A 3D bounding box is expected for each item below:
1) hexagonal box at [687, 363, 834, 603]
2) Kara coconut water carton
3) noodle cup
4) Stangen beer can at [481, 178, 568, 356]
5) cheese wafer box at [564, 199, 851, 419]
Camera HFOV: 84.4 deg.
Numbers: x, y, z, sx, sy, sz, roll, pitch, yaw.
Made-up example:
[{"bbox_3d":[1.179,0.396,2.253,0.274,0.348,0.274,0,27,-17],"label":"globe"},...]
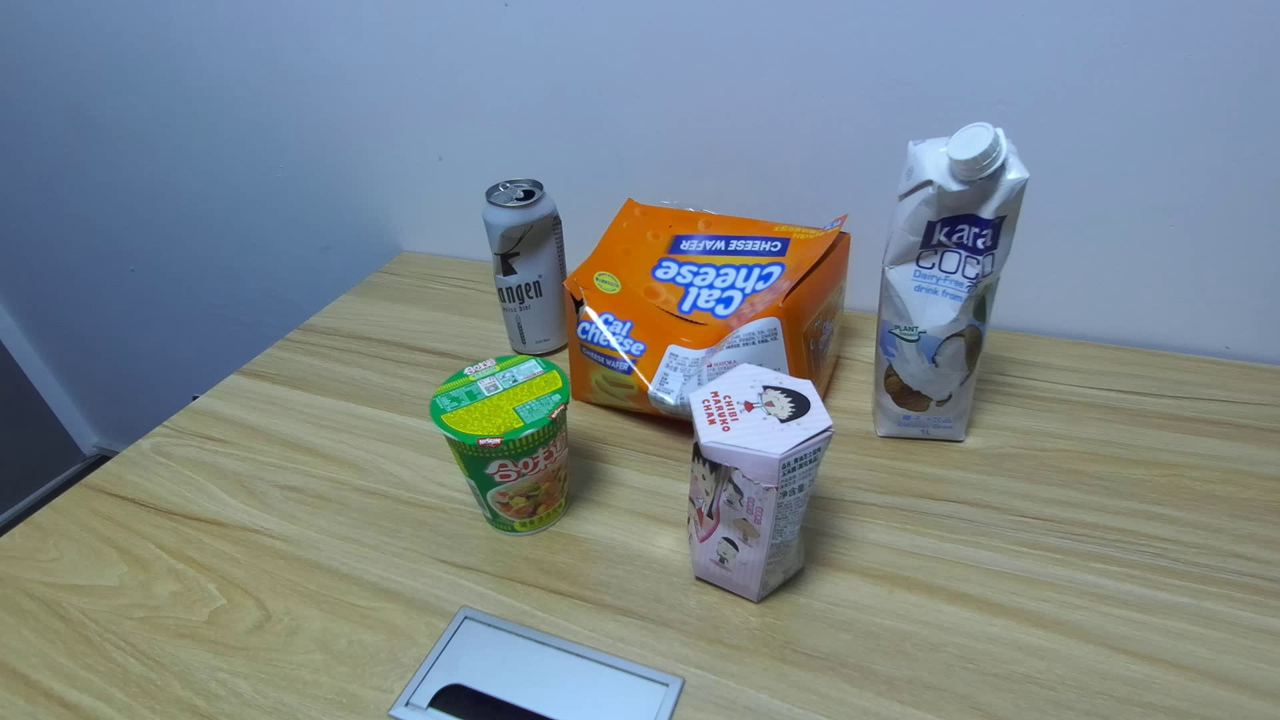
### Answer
[{"bbox_3d":[0.075,0.079,0.464,0.090,0.135,0.091,21,42,28],"label":"hexagonal box"},{"bbox_3d":[0.223,-0.054,0.527,0.083,0.256,0.078,11,41,22],"label":"Kara coconut water carton"},{"bbox_3d":[-0.094,0.069,0.526,0.097,0.110,0.097,-2,35,2],"label":"noodle cup"},{"bbox_3d":[-0.108,-0.088,0.692,0.070,0.173,0.070,11,39,22],"label":"Stangen beer can"},{"bbox_3d":[0.056,-0.036,0.619,0.218,0.145,0.191,11,39,21],"label":"cheese wafer box"}]
